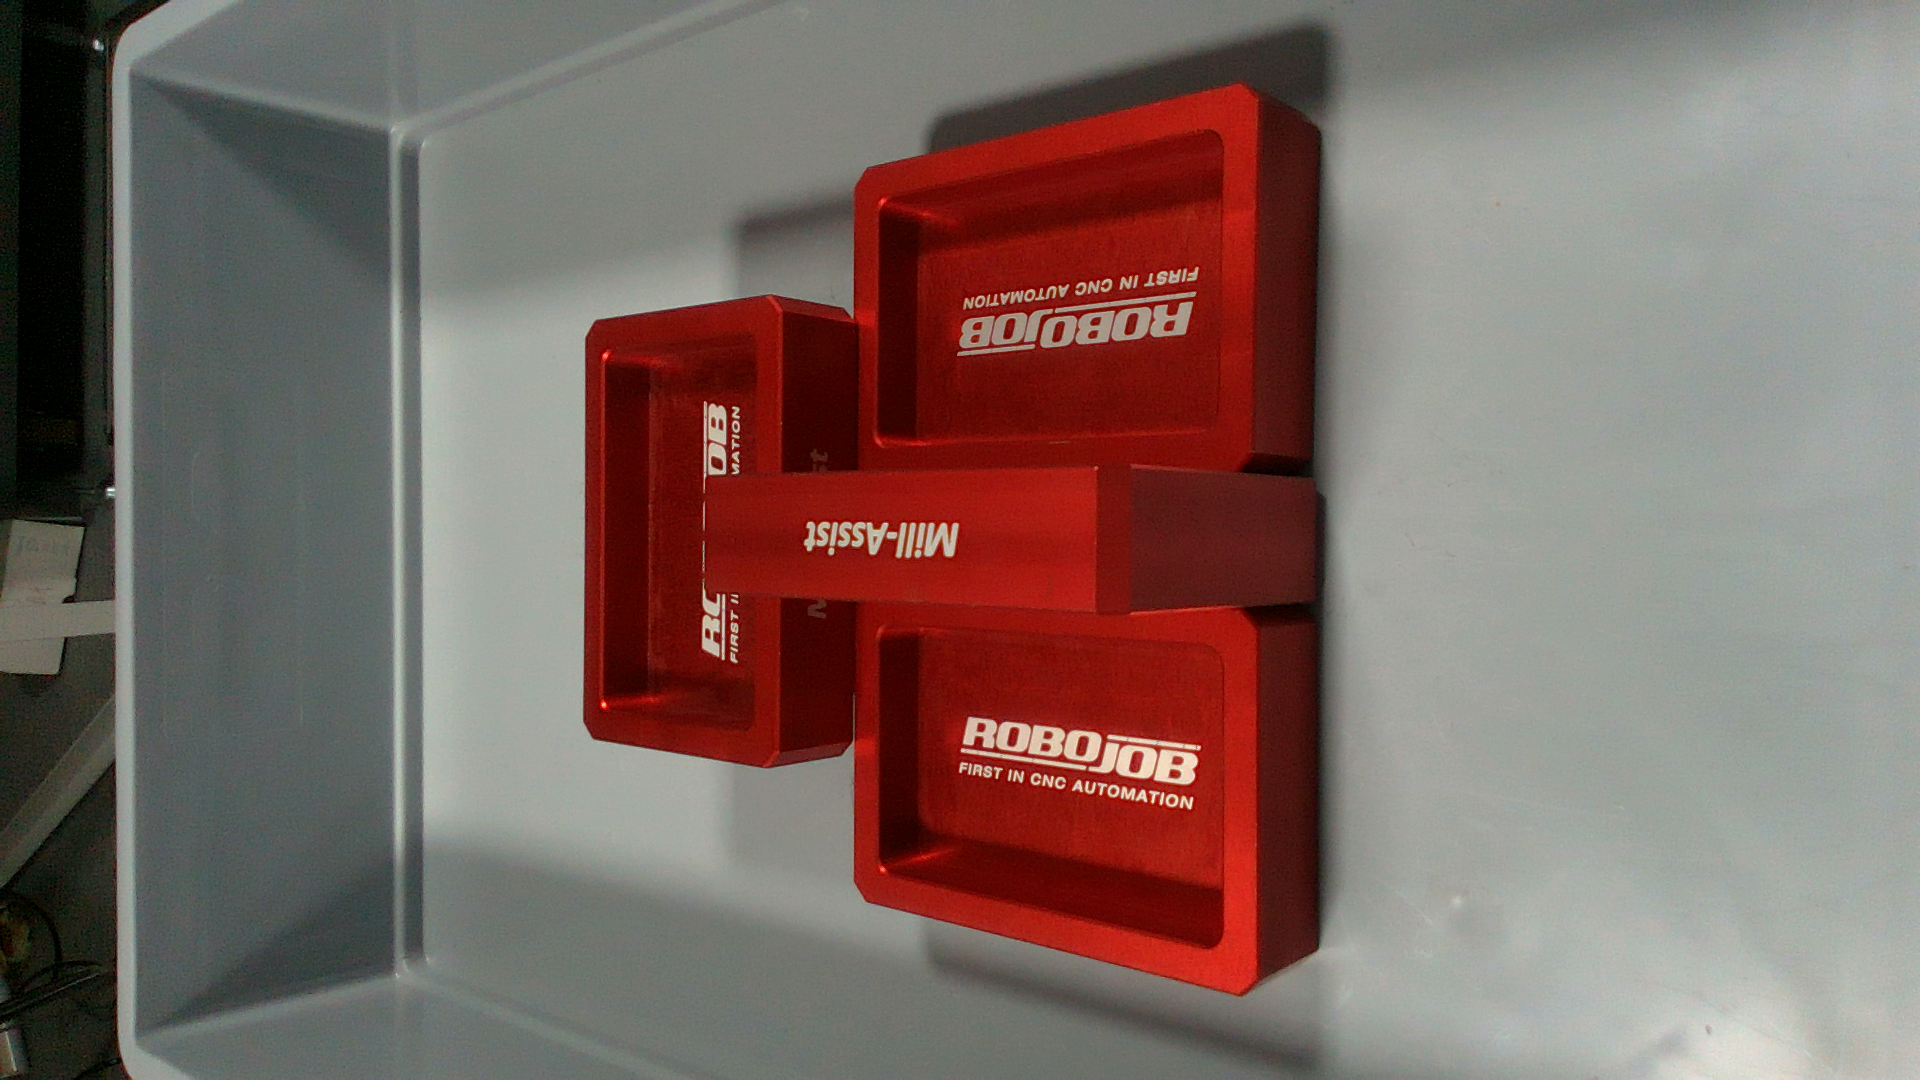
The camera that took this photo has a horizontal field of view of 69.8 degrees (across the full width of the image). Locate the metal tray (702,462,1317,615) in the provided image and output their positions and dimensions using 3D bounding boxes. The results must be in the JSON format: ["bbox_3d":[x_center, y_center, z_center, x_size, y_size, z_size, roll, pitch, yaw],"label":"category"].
[{"bbox_3d":[0.010,-0.001,0.341,0.129,0.090,0.030,1,91,40],"label":"metal tray"}]

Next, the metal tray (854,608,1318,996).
[{"bbox_3d":[0.028,0.060,0.366,0.129,0.030,0.090,1,91,40],"label":"metal tray"}]

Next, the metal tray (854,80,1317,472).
[{"bbox_3d":[0.028,-0.062,0.367,0.129,0.030,0.090,1,91,40],"label":"metal tray"}]

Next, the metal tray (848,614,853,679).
[{"bbox_3d":[-0.073,0.000,0.450,0.129,0.030,0.090,0,90,40],"label":"metal tray"}]

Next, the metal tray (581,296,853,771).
[{"bbox_3d":[-0.075,-0.002,0.412,0.090,0.030,0.130,1,91,40],"label":"metal tray"}]
